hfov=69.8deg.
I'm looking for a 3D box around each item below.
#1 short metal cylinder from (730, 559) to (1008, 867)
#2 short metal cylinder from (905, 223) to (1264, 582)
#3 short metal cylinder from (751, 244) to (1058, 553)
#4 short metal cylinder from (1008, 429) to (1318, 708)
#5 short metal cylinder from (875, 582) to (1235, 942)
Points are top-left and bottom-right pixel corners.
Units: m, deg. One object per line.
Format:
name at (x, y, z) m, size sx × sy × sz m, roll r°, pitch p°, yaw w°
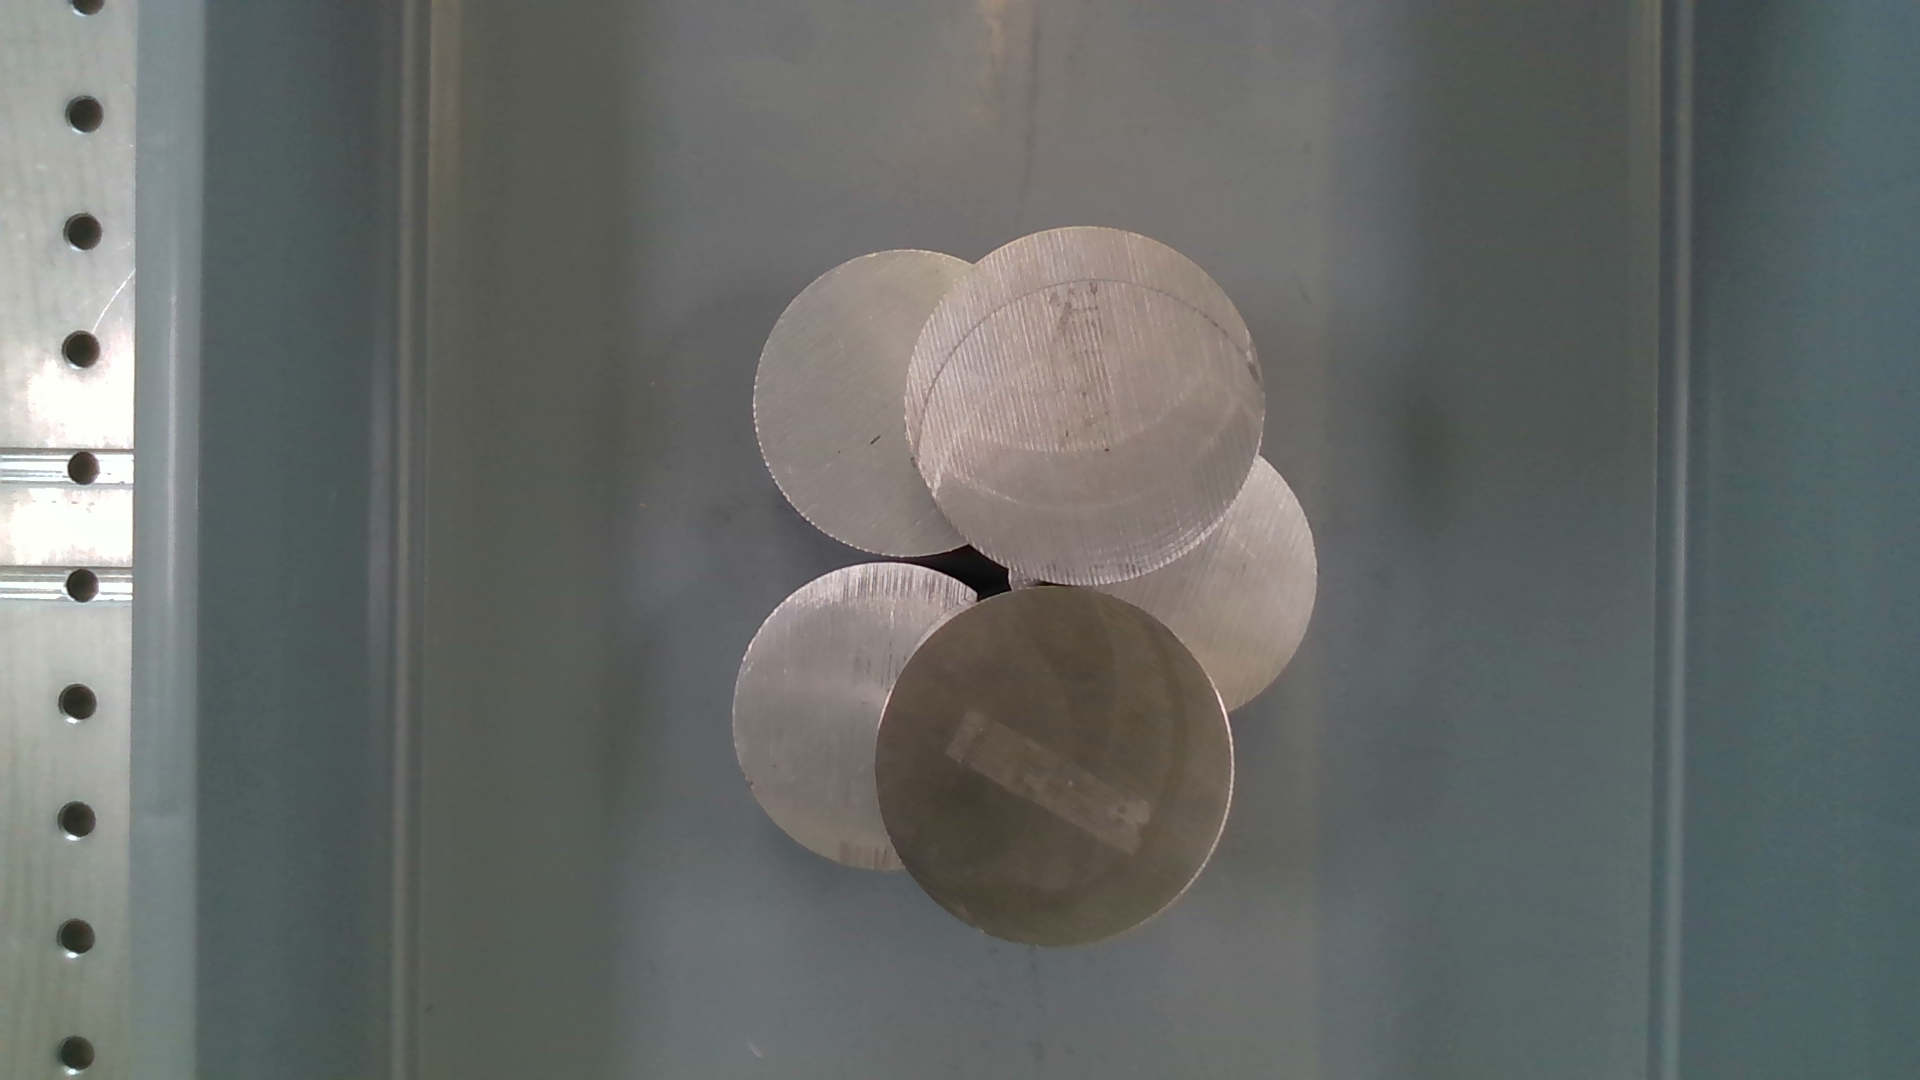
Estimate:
short metal cylinder at (-0.020, 0.045, 0.382) m, size 0.080 × 0.050 × 0.080 m, roll 0°, pitch 90°, yaw 0°
short metal cylinder at (0.028, -0.031, 0.332) m, size 0.080 × 0.050 × 0.080 m, roll 0°, pitch 90°, yaw 0°
short metal cylinder at (-0.014, -0.037, 0.381) m, size 0.080 × 0.050 × 0.080 m, roll 0°, pitch 90°, yaw 0°
short metal cylinder at (0.053, 0.008, 0.382) m, size 0.080 × 0.050 × 0.080 m, roll 0°, pitch 90°, yaw 0°
short metal cylinder at (0.021, 0.050, 0.331) m, size 0.080 × 0.050 × 0.080 m, roll 0°, pitch 90°, yaw 0°
